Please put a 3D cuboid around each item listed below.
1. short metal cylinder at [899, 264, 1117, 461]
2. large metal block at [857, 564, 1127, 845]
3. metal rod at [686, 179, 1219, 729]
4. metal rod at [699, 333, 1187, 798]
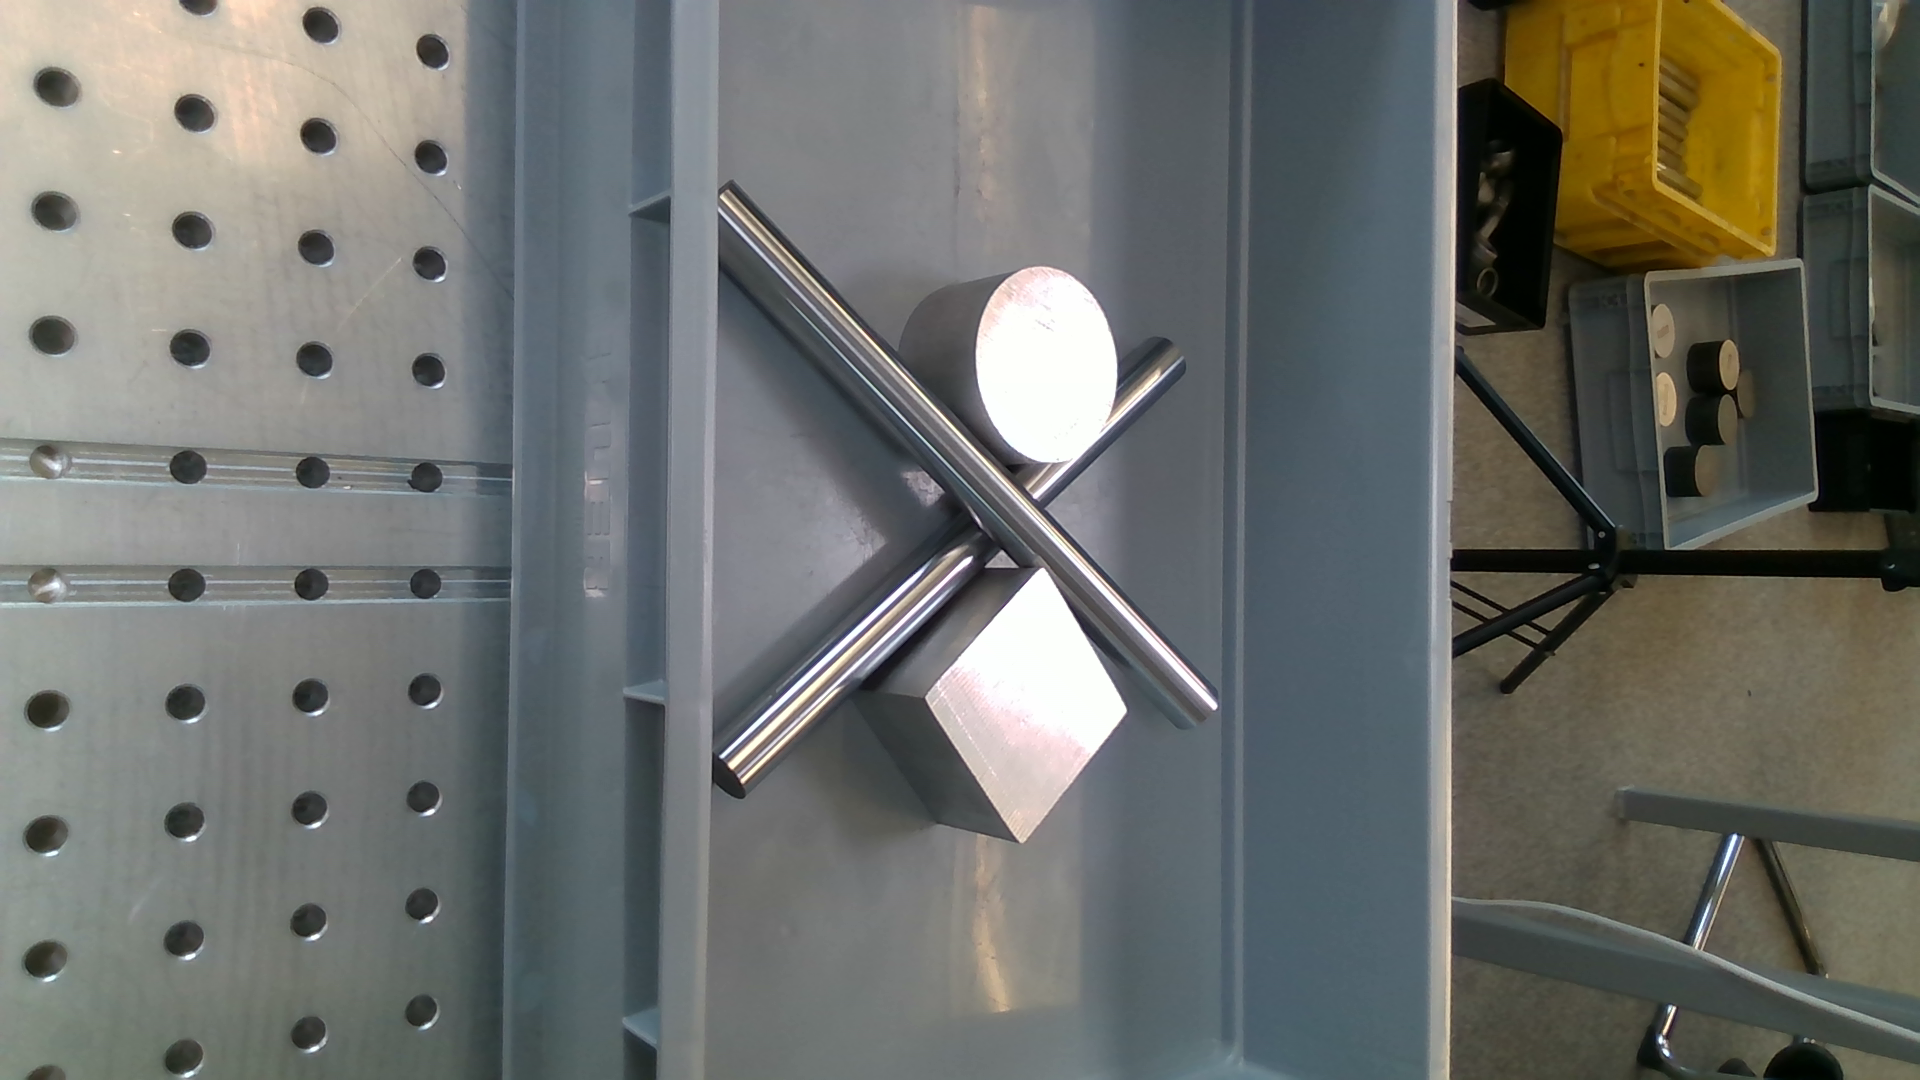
[{"bbox_3d":[0.020,-0.073,0.583,0.080,0.050,0.080,0,90,-40],"label":"short metal cylinder"},{"bbox_3d":[0.013,0.066,0.575,0.080,0.050,0.080,-46,118,-30],"label":"large metal block"},{"bbox_3d":[0.007,-0.025,0.560,0.301,0.025,0.025,45,62,-21],"label":"metal rod"},{"bbox_3d":[0.006,-0.002,0.586,0.299,0.025,0.025,-43,116,-32],"label":"metal rod"}]
